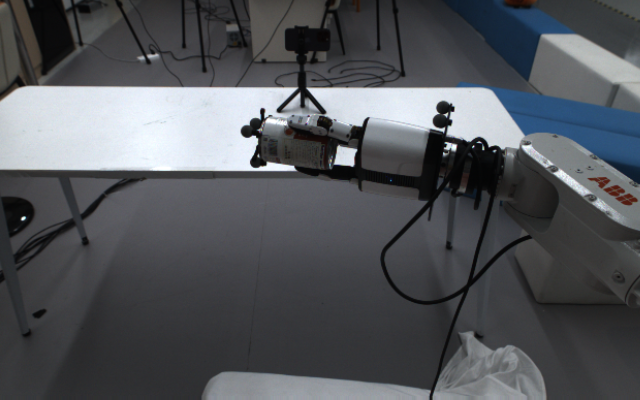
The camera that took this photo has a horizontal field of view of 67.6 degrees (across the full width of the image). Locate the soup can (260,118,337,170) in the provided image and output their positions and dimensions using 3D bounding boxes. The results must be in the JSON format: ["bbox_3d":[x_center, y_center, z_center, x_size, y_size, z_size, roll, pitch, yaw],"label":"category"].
[{"bbox_3d":[-0.029,-0.081,0.696,0.101,0.067,0.067,9,35,10],"label":"soup can"}]
